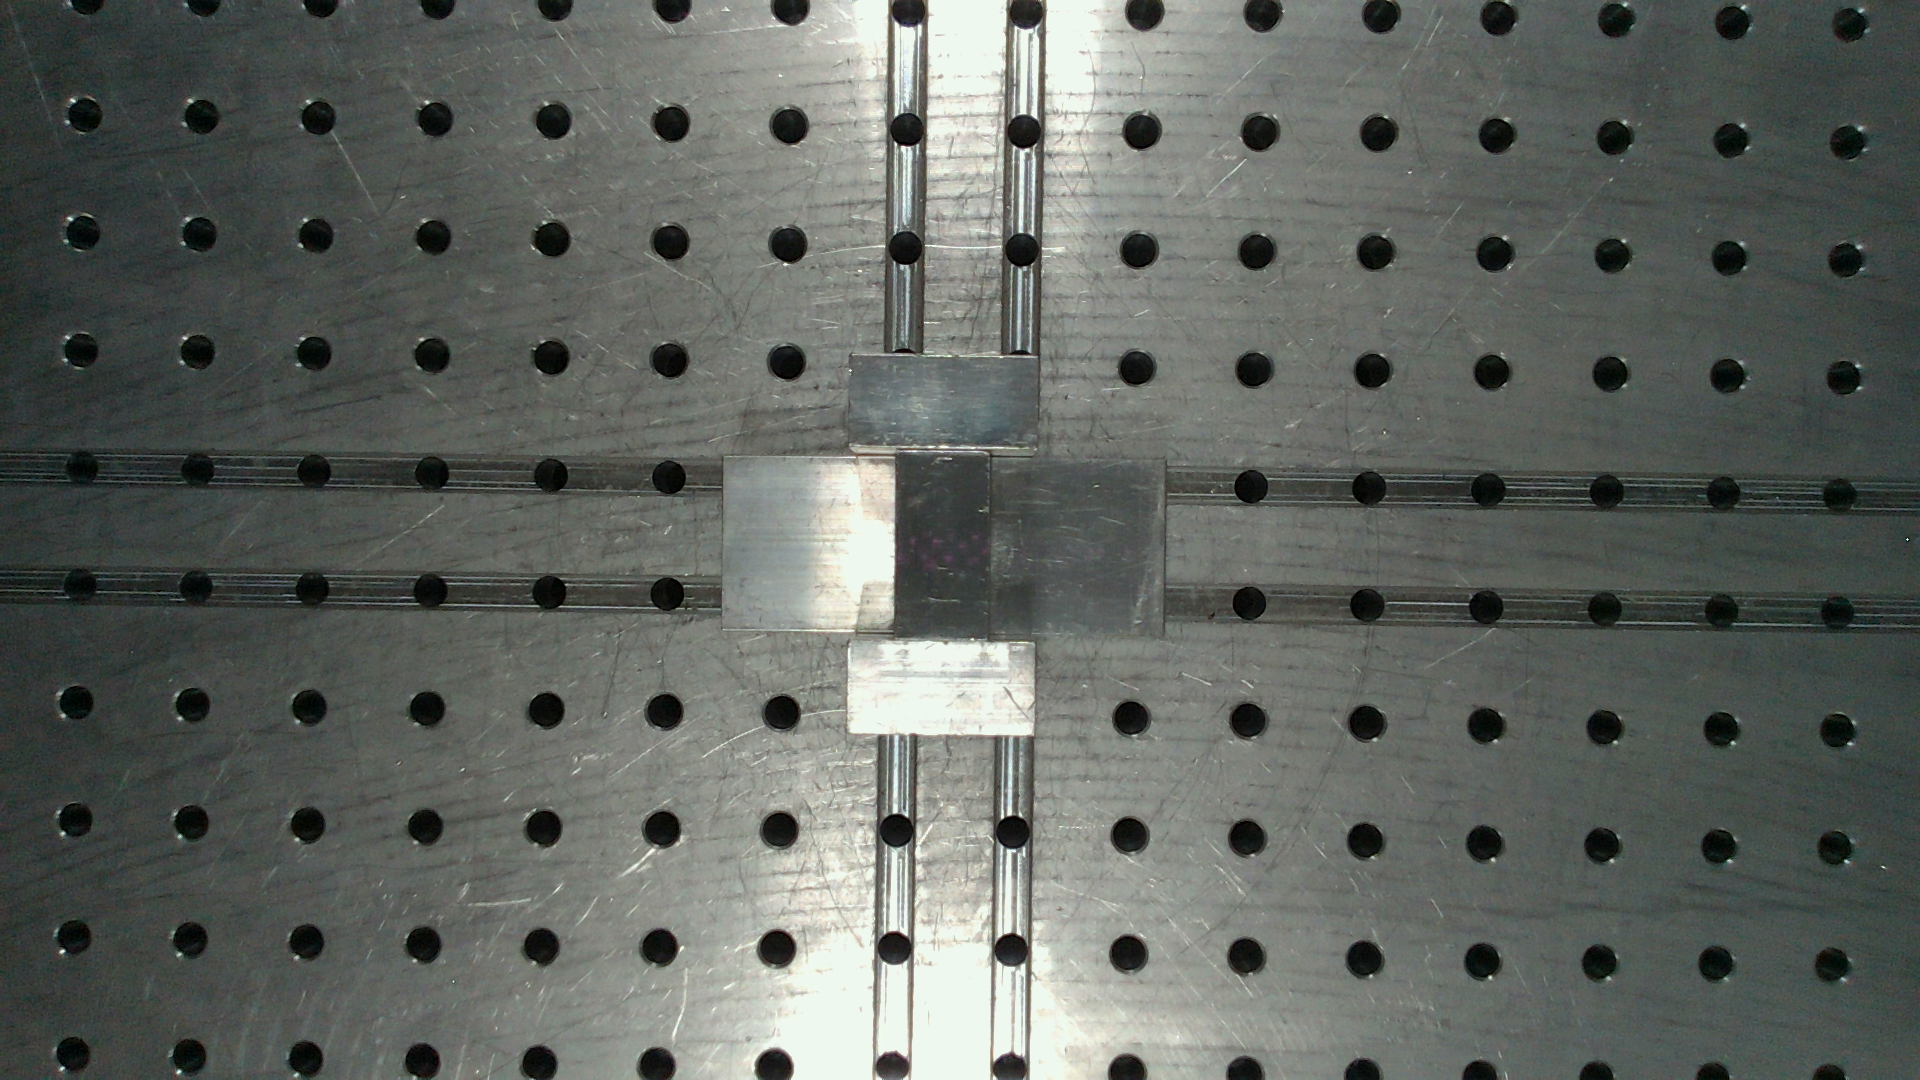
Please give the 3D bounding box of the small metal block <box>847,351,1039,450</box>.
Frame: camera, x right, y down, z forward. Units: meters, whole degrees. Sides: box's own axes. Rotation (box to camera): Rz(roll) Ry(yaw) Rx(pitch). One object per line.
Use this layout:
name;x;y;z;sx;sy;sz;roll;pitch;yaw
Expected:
small metal block;-0.004;-0.037;0.385;0.050;0.050;0.025;1;90;0

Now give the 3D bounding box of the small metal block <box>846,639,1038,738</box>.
small metal block;-0.005;0.039;0.385;0.050;0.050;0.025;1;90;0

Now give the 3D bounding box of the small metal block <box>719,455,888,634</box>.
small metal block;-0.042;0.001;0.397;0.050;0.025;0.050;0;90;0

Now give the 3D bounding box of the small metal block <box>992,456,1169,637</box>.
small metal block;0.033;0.002;0.397;0.050;0.025;0.050;1;90;0

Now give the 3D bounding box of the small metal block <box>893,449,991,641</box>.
small metal block;-0.005;0.001;0.385;0.025;0.050;0.050;1;90;0
